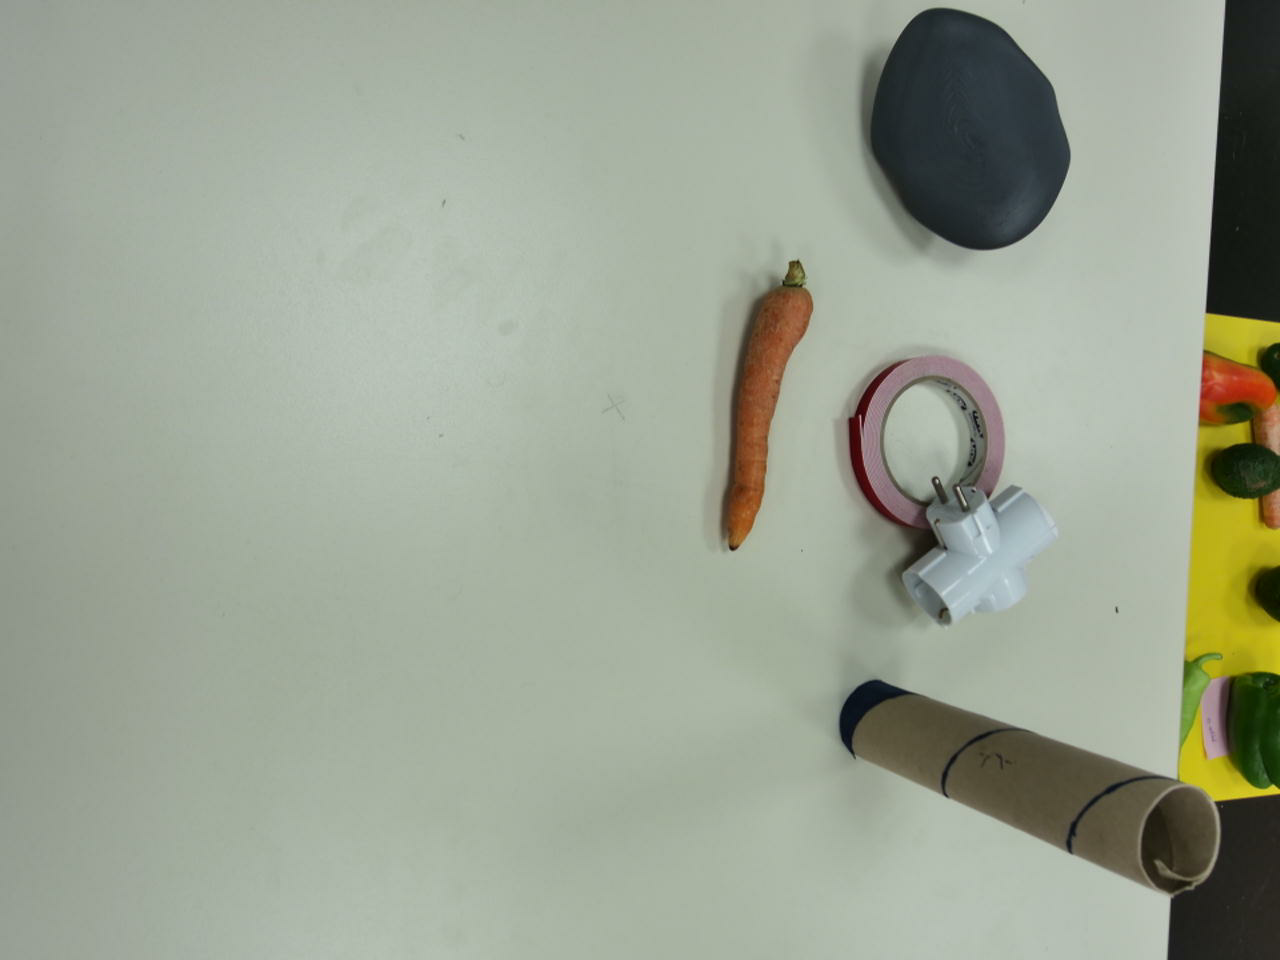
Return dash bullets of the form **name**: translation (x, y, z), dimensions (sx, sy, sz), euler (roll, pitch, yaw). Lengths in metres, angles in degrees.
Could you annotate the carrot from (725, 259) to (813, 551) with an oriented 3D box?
- **carrot**: translation (0.071, -0.042, 0.579), dimensions (0.030, 0.032, 0.173), euler (15, 85, -21)
